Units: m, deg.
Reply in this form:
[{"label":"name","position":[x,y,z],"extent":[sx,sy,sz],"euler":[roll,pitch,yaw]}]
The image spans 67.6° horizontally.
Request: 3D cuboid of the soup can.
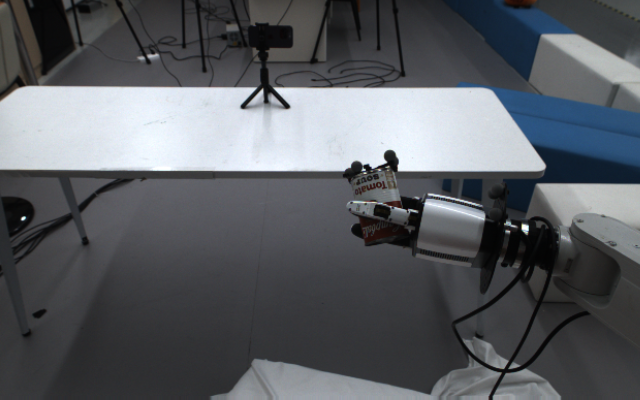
[{"label":"soup can","position":[0.088,0.010,0.712],"extent":[0.067,0.067,0.101],"euler":[-10,80,-16]}]
